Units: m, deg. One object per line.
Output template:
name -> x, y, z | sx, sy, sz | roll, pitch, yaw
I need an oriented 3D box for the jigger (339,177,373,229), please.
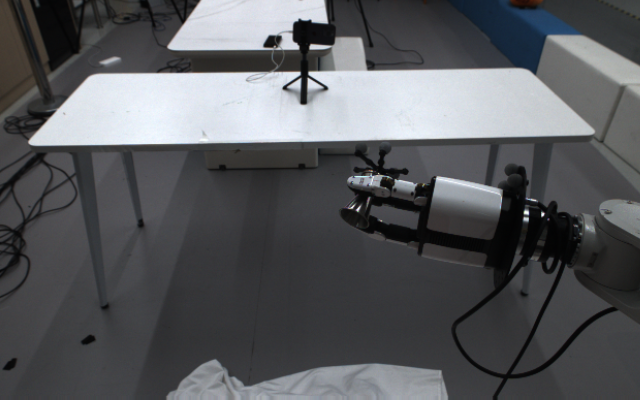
jigger -> 0.059, -0.006, 0.648 | 0.043, 0.043, 0.071 | 19, 61, 23
